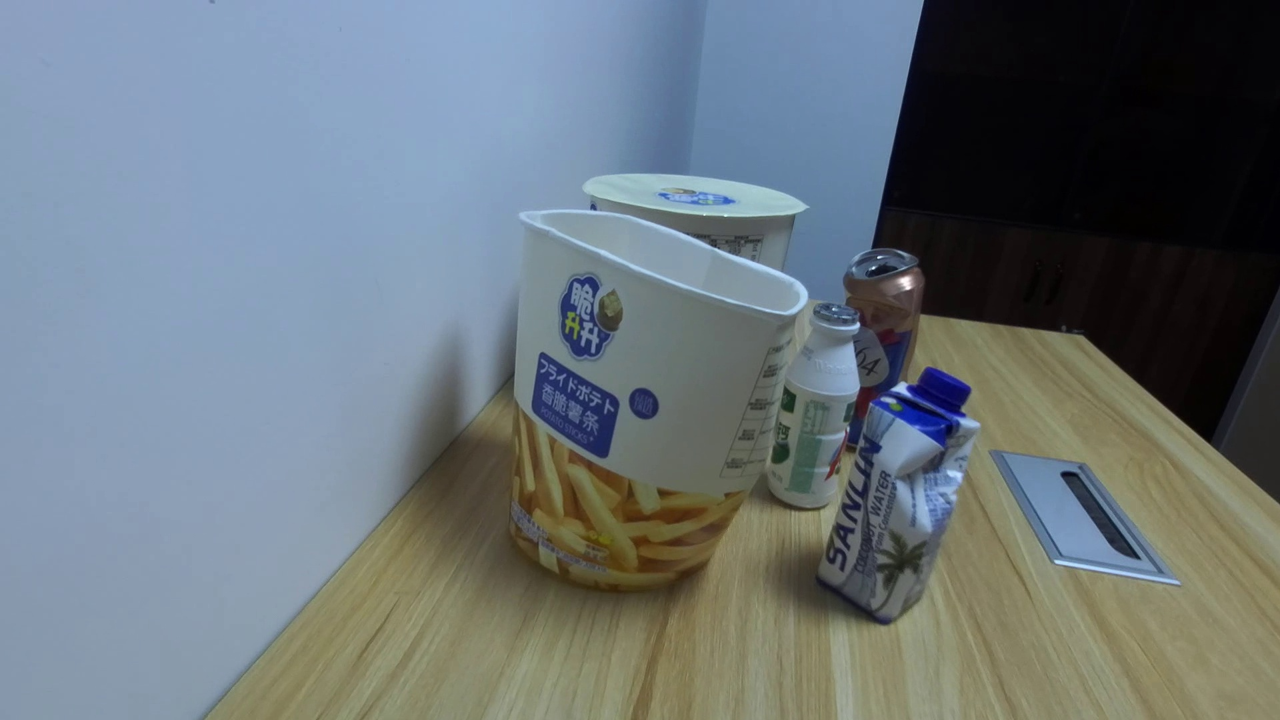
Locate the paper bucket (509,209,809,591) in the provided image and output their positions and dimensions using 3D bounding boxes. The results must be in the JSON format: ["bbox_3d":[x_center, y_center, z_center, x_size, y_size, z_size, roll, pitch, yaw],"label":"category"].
[{"bbox_3d":[-0.007,0.018,0.447,0.217,0.199,0.148,15,25,22],"label":"paper bucket"}]

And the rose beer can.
[{"bbox_3d":[0.197,-0.008,0.601,0.069,0.168,0.070,16,30,23],"label":"rose beer can"}]

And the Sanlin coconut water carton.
[{"bbox_3d":[0.154,0.077,0.416,0.070,0.143,0.060,-13,30,-40],"label":"Sanlin coconut water carton"}]

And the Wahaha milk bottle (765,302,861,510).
[{"bbox_3d":[0.128,0.033,0.507,0.053,0.147,0.053,5,22,-2],"label":"Wahaha milk bottle"}]

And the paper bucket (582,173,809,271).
[{"bbox_3d":[0.037,-0.054,0.637,0.198,0.194,0.198,5,24,-2],"label":"paper bucket"}]
